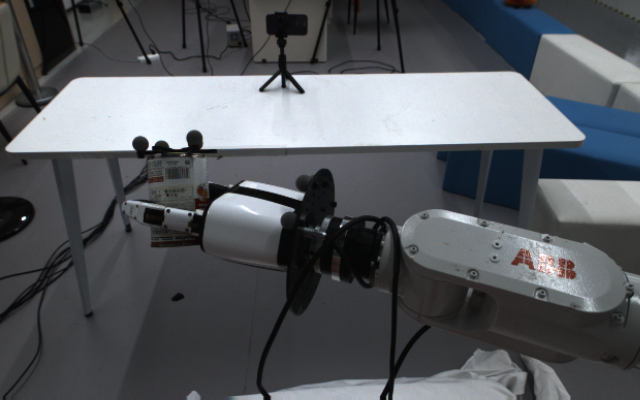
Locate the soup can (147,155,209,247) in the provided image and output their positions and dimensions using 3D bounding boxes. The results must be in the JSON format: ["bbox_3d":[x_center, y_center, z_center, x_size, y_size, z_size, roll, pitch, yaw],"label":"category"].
[{"bbox_3d":[-0.158,0.002,0.549,0.067,0.101,0.067,-3,-1,0],"label":"soup can"}]
